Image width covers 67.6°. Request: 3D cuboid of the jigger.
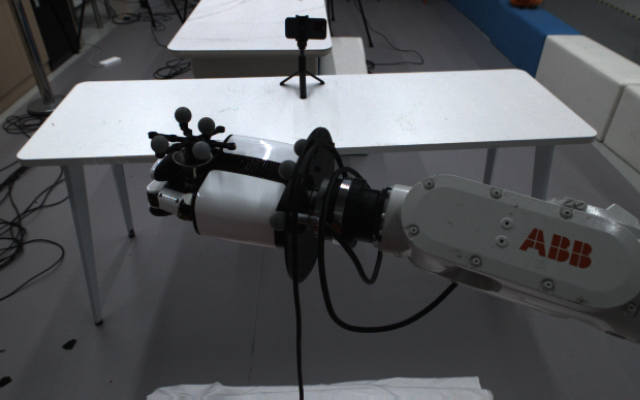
[{"bbox_3d":[-0.133,-0.016,0.520,0.043,0.071,0.043,6,32,-4],"label":"jigger"}]
